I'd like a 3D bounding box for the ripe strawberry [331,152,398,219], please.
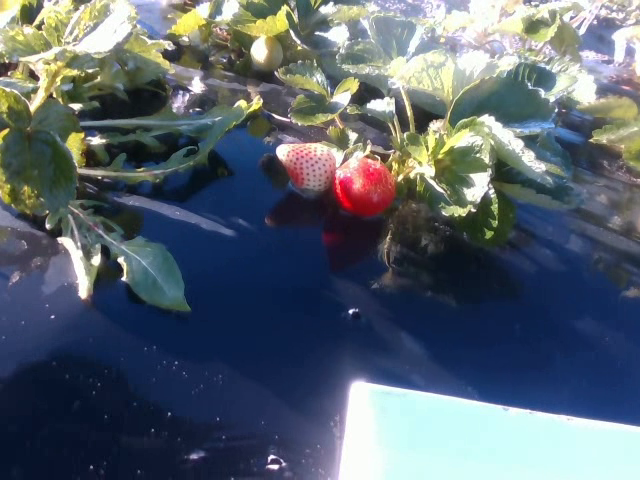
[{"bbox_3d":[0.025,-0.032,0.340,0.040,0.038,0.055,-12,-11,11],"label":"ripe strawberry"}]
